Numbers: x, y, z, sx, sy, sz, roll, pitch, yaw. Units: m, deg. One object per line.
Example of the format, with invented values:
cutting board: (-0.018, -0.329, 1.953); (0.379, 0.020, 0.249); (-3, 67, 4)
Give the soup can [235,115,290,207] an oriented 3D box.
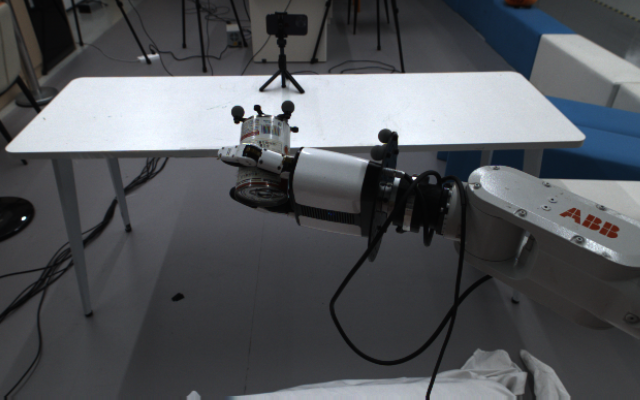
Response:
soup can: (-0.071, -0.050, 0.623); (0.067, 0.067, 0.101); (1, 68, -1)
